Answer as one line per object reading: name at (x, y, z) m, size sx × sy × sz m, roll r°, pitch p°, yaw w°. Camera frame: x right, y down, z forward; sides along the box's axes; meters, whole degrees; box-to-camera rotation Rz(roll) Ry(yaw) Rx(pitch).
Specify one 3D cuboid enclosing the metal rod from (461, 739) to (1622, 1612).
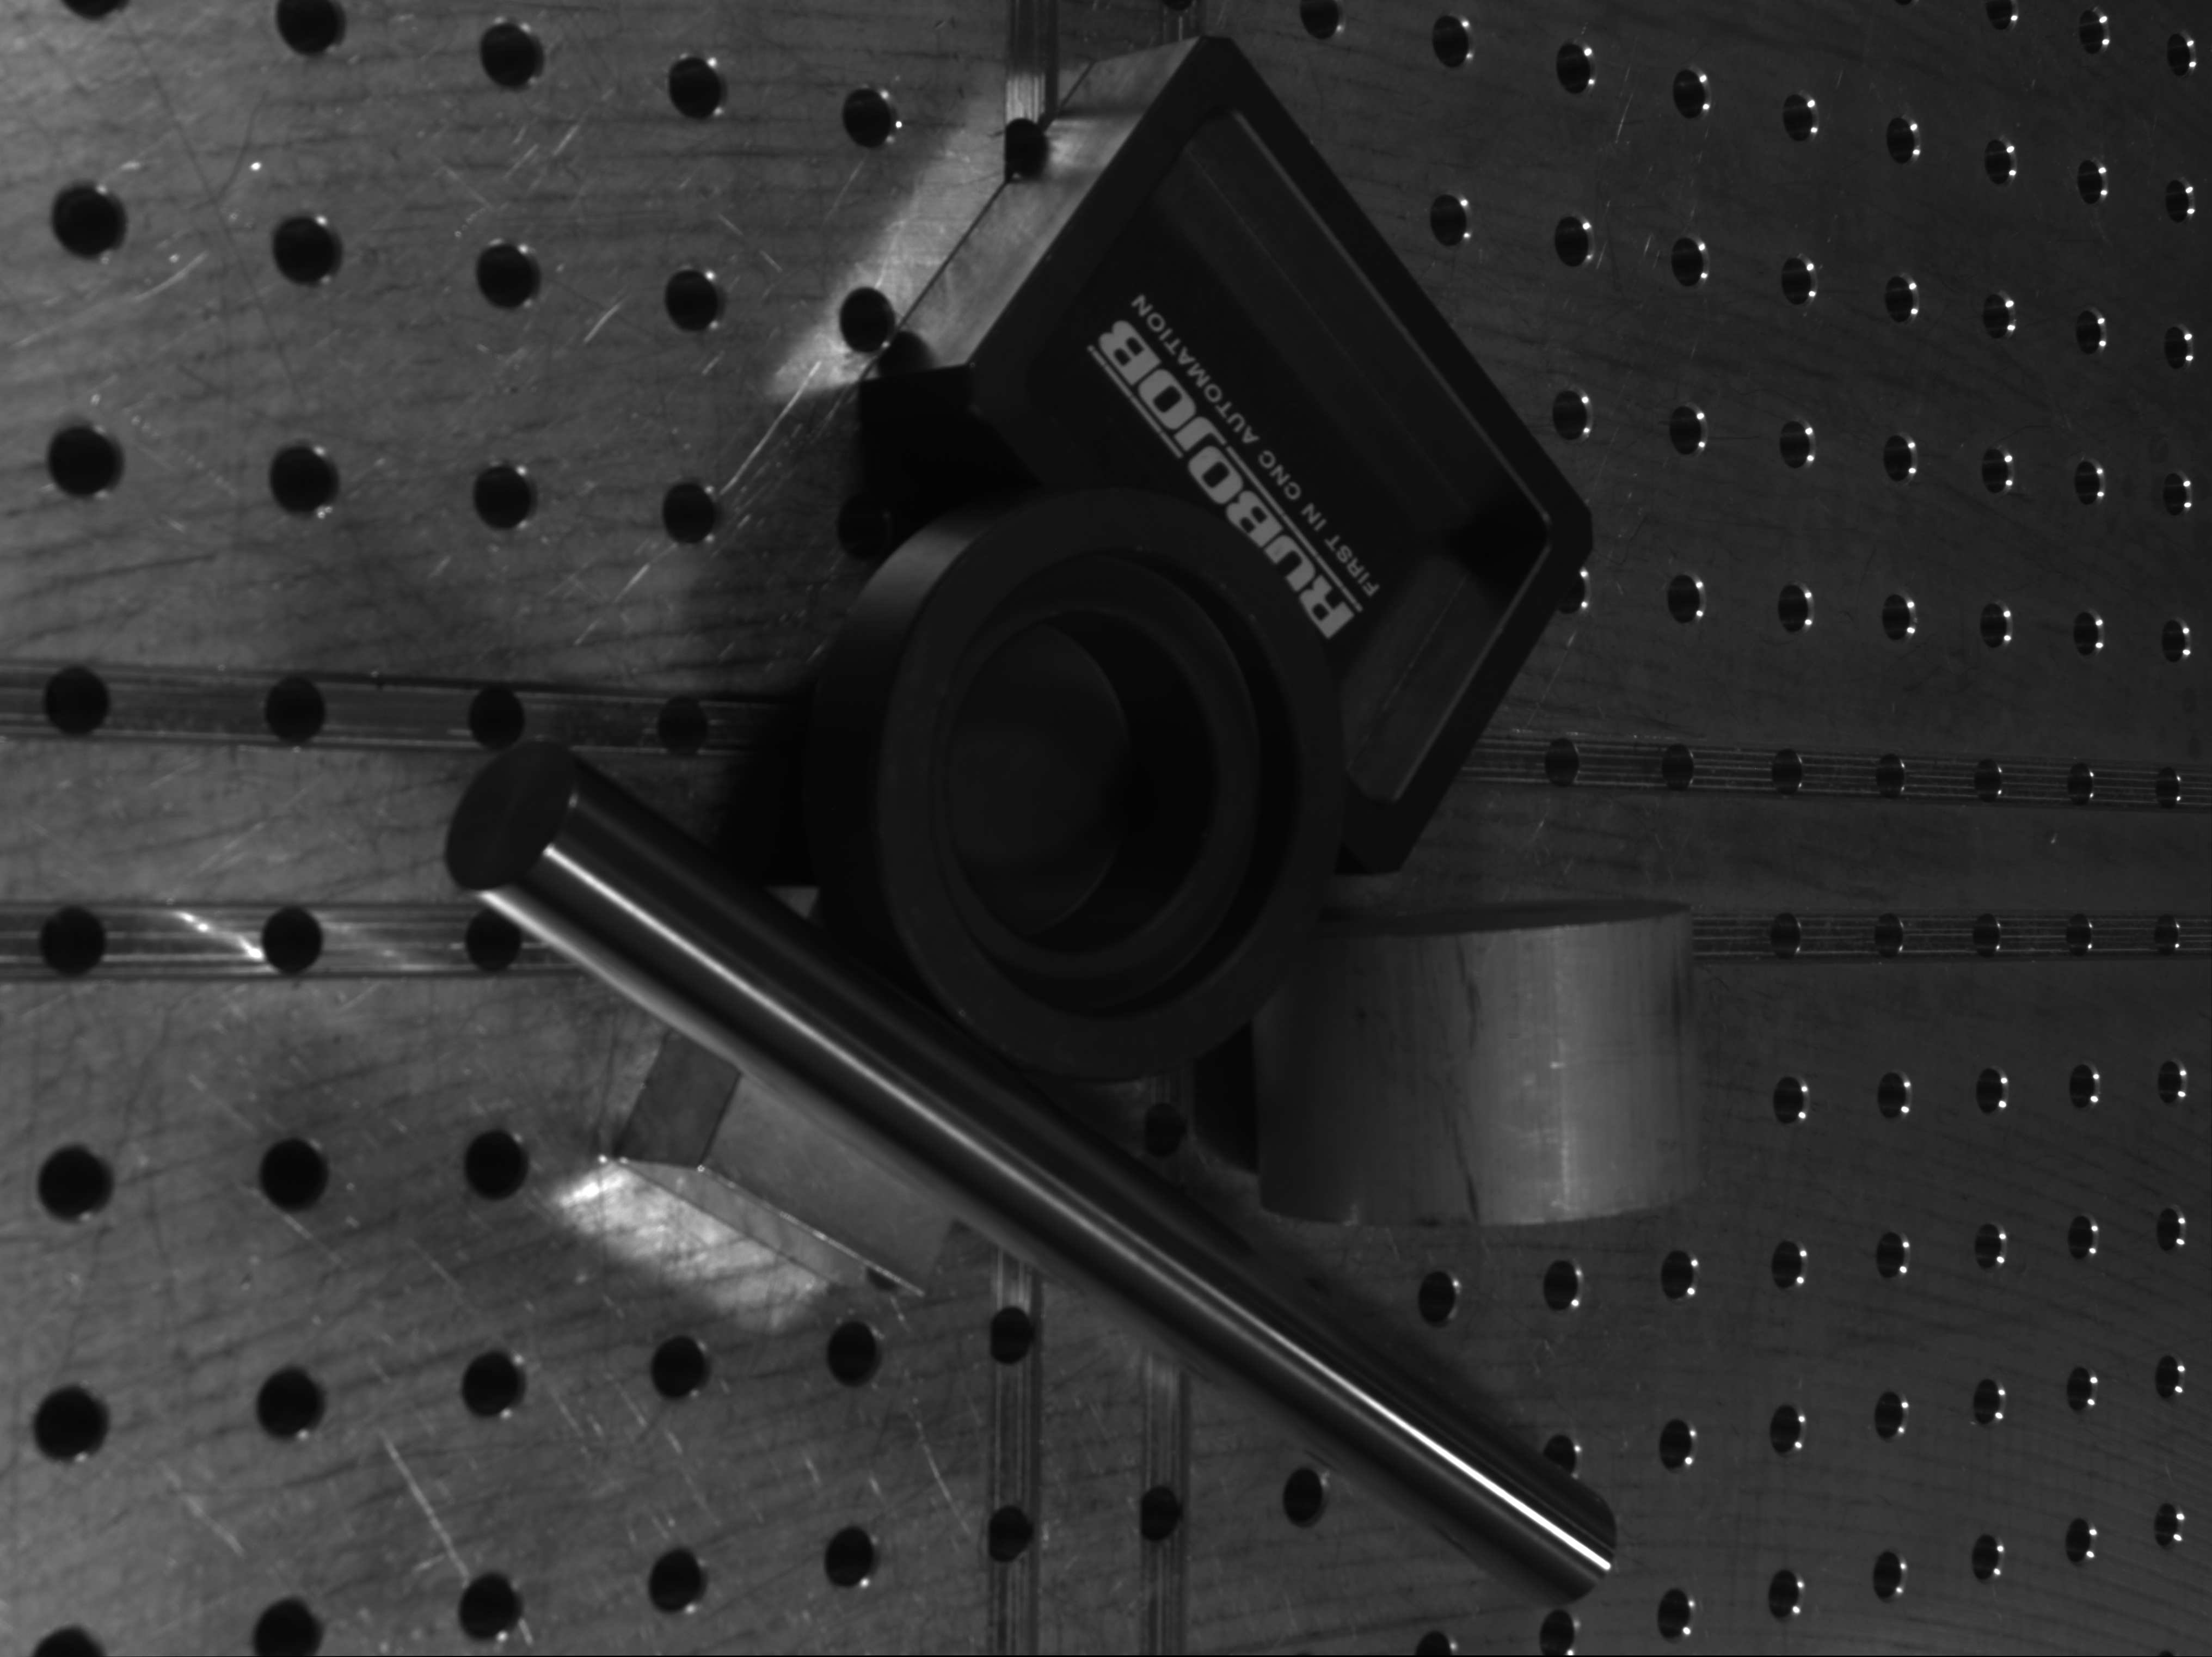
metal rod at (0.004, 0.070, 0.617) m, size 0.301 × 0.025 × 0.025 m, roll 40°, pitch 65°, yaw -42°

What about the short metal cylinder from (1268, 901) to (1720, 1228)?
short metal cylinder at (0.069, 0.041, 0.661) m, size 0.080 × 0.080 × 0.050 m, roll -5°, pitch 93°, yaw -40°

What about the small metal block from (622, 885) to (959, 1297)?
small metal block at (-0.044, 0.043, 0.604) m, size 0.050 × 0.025 × 0.050 m, roll 35°, pitch 68°, yaw -34°

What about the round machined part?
round machined part at (-0.007, -0.008, 0.613) m, size 0.098 × 0.042 × 0.098 m, roll 0°, pitch 90°, yaw -38°

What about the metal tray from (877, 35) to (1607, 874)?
metal tray at (0.028, -0.065, 0.660) m, size 0.130 × 0.030 × 0.090 m, roll 47°, pitch 61°, yaw -29°
